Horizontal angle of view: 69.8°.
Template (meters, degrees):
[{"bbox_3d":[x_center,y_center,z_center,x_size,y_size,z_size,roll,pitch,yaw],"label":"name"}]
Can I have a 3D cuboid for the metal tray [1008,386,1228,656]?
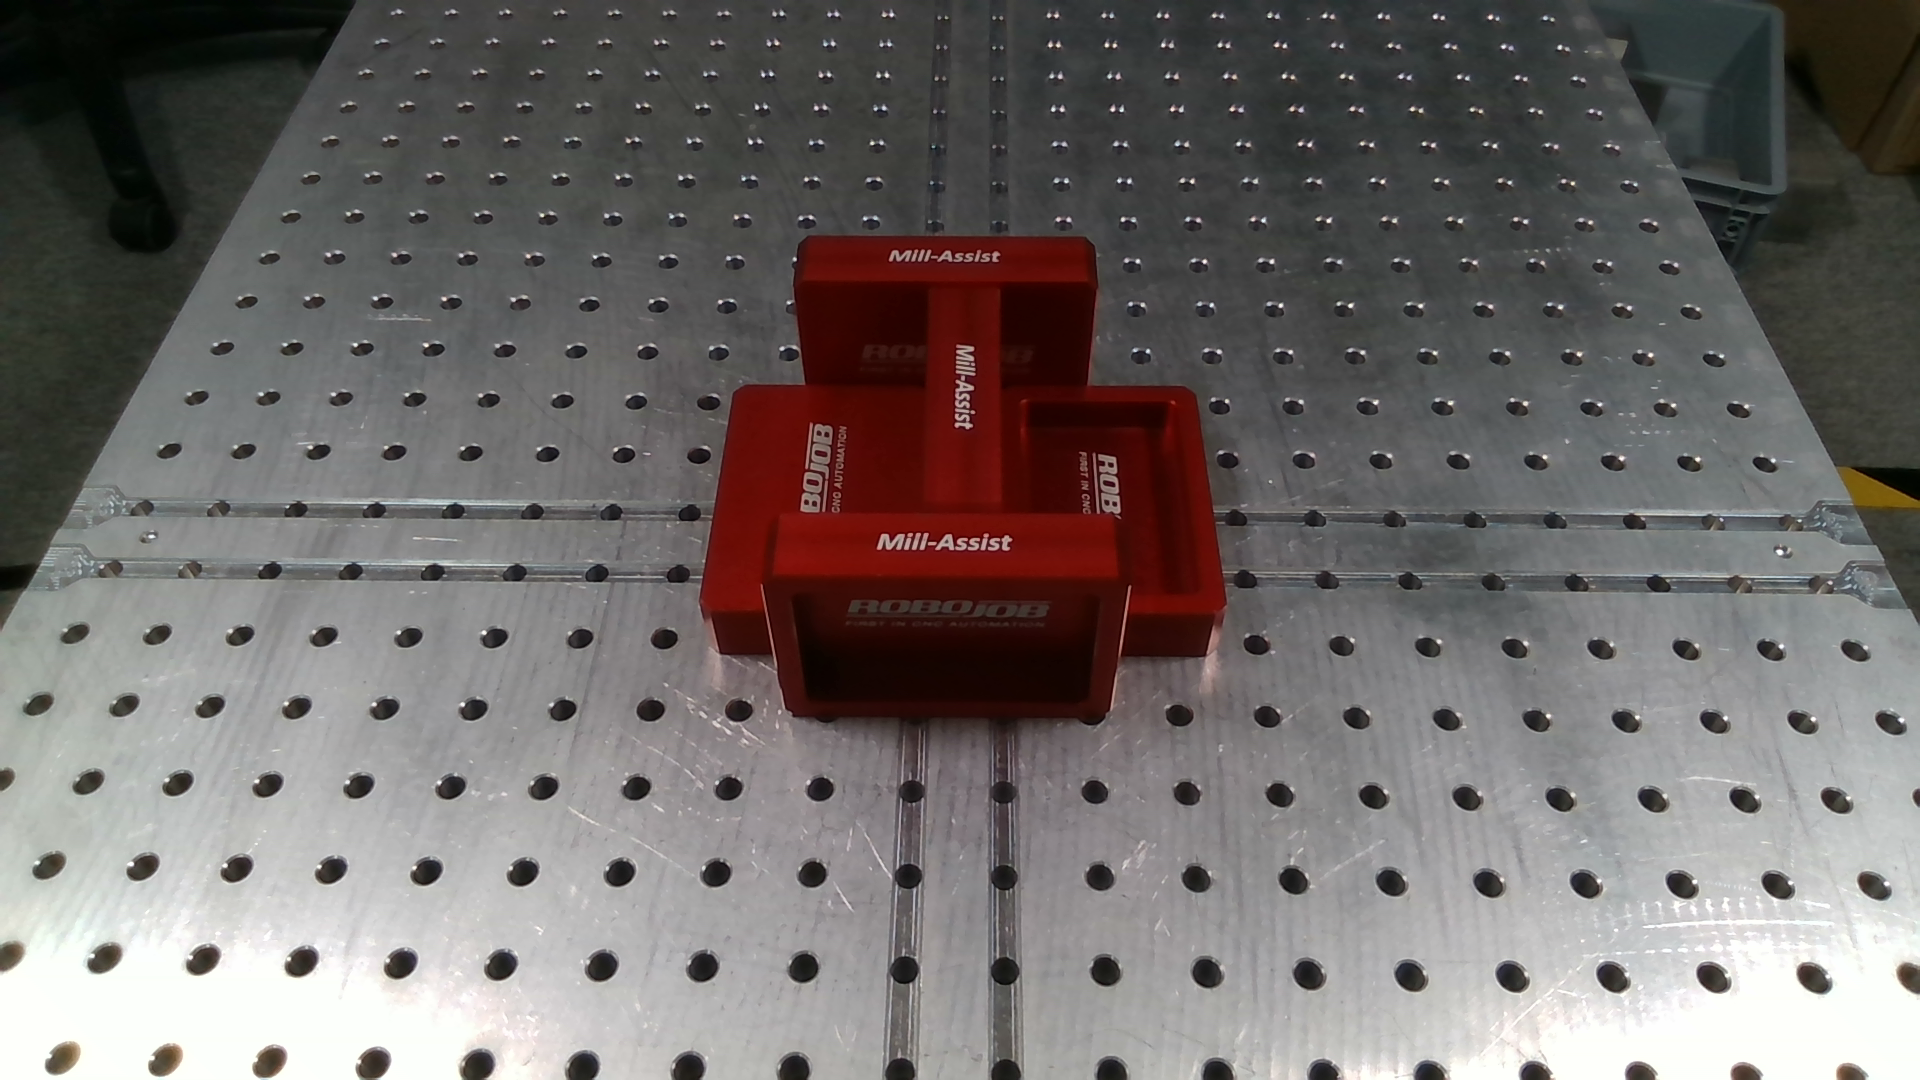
[{"bbox_3d":[0.062,-0.011,0.596,0.090,0.030,0.130,0,50,0],"label":"metal tray"}]

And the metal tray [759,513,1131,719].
[{"bbox_3d":[-0.005,0.030,0.521,0.130,0.090,0.030,0,50,0],"label":"metal tray"}]

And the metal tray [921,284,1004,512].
[{"bbox_3d":[0.002,-0.032,0.573,0.030,0.090,0.130,0,50,0],"label":"metal tray"}]

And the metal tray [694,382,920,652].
[{"bbox_3d":[-0.060,-0.013,0.596,0.090,0.030,0.130,0,50,0],"label":"metal tray"}]

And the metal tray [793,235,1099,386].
[{"bbox_3d":[-0.006,-0.093,0.624,0.130,0.090,0.030,0,50,0],"label":"metal tray"}]
